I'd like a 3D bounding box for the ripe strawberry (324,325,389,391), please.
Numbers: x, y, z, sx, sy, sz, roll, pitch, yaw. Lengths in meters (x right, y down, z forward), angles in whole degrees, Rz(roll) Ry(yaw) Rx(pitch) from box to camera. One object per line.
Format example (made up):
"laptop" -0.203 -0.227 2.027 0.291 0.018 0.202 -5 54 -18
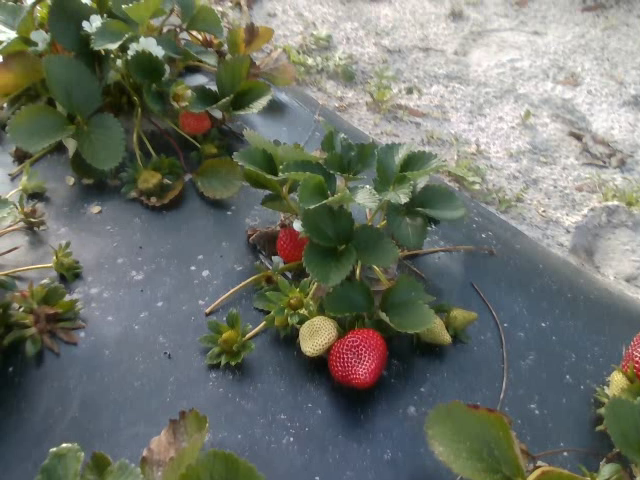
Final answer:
"ripe strawberry" 0.028 0.093 0.457 0.051 0.048 0.055 -34 12 12
